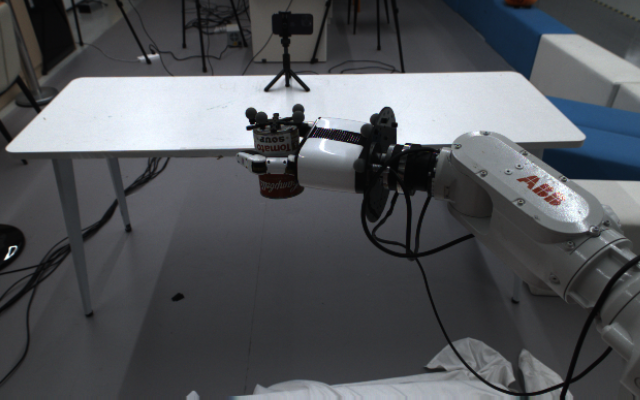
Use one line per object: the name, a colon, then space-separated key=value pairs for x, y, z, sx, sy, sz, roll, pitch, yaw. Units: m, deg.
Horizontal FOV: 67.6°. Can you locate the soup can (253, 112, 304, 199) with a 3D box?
soup can: x=-0.060 y=-0.061 z=0.713 sx=0.067 sy=0.101 sz=0.067 roll=-4 pitch=26 yaw=2
